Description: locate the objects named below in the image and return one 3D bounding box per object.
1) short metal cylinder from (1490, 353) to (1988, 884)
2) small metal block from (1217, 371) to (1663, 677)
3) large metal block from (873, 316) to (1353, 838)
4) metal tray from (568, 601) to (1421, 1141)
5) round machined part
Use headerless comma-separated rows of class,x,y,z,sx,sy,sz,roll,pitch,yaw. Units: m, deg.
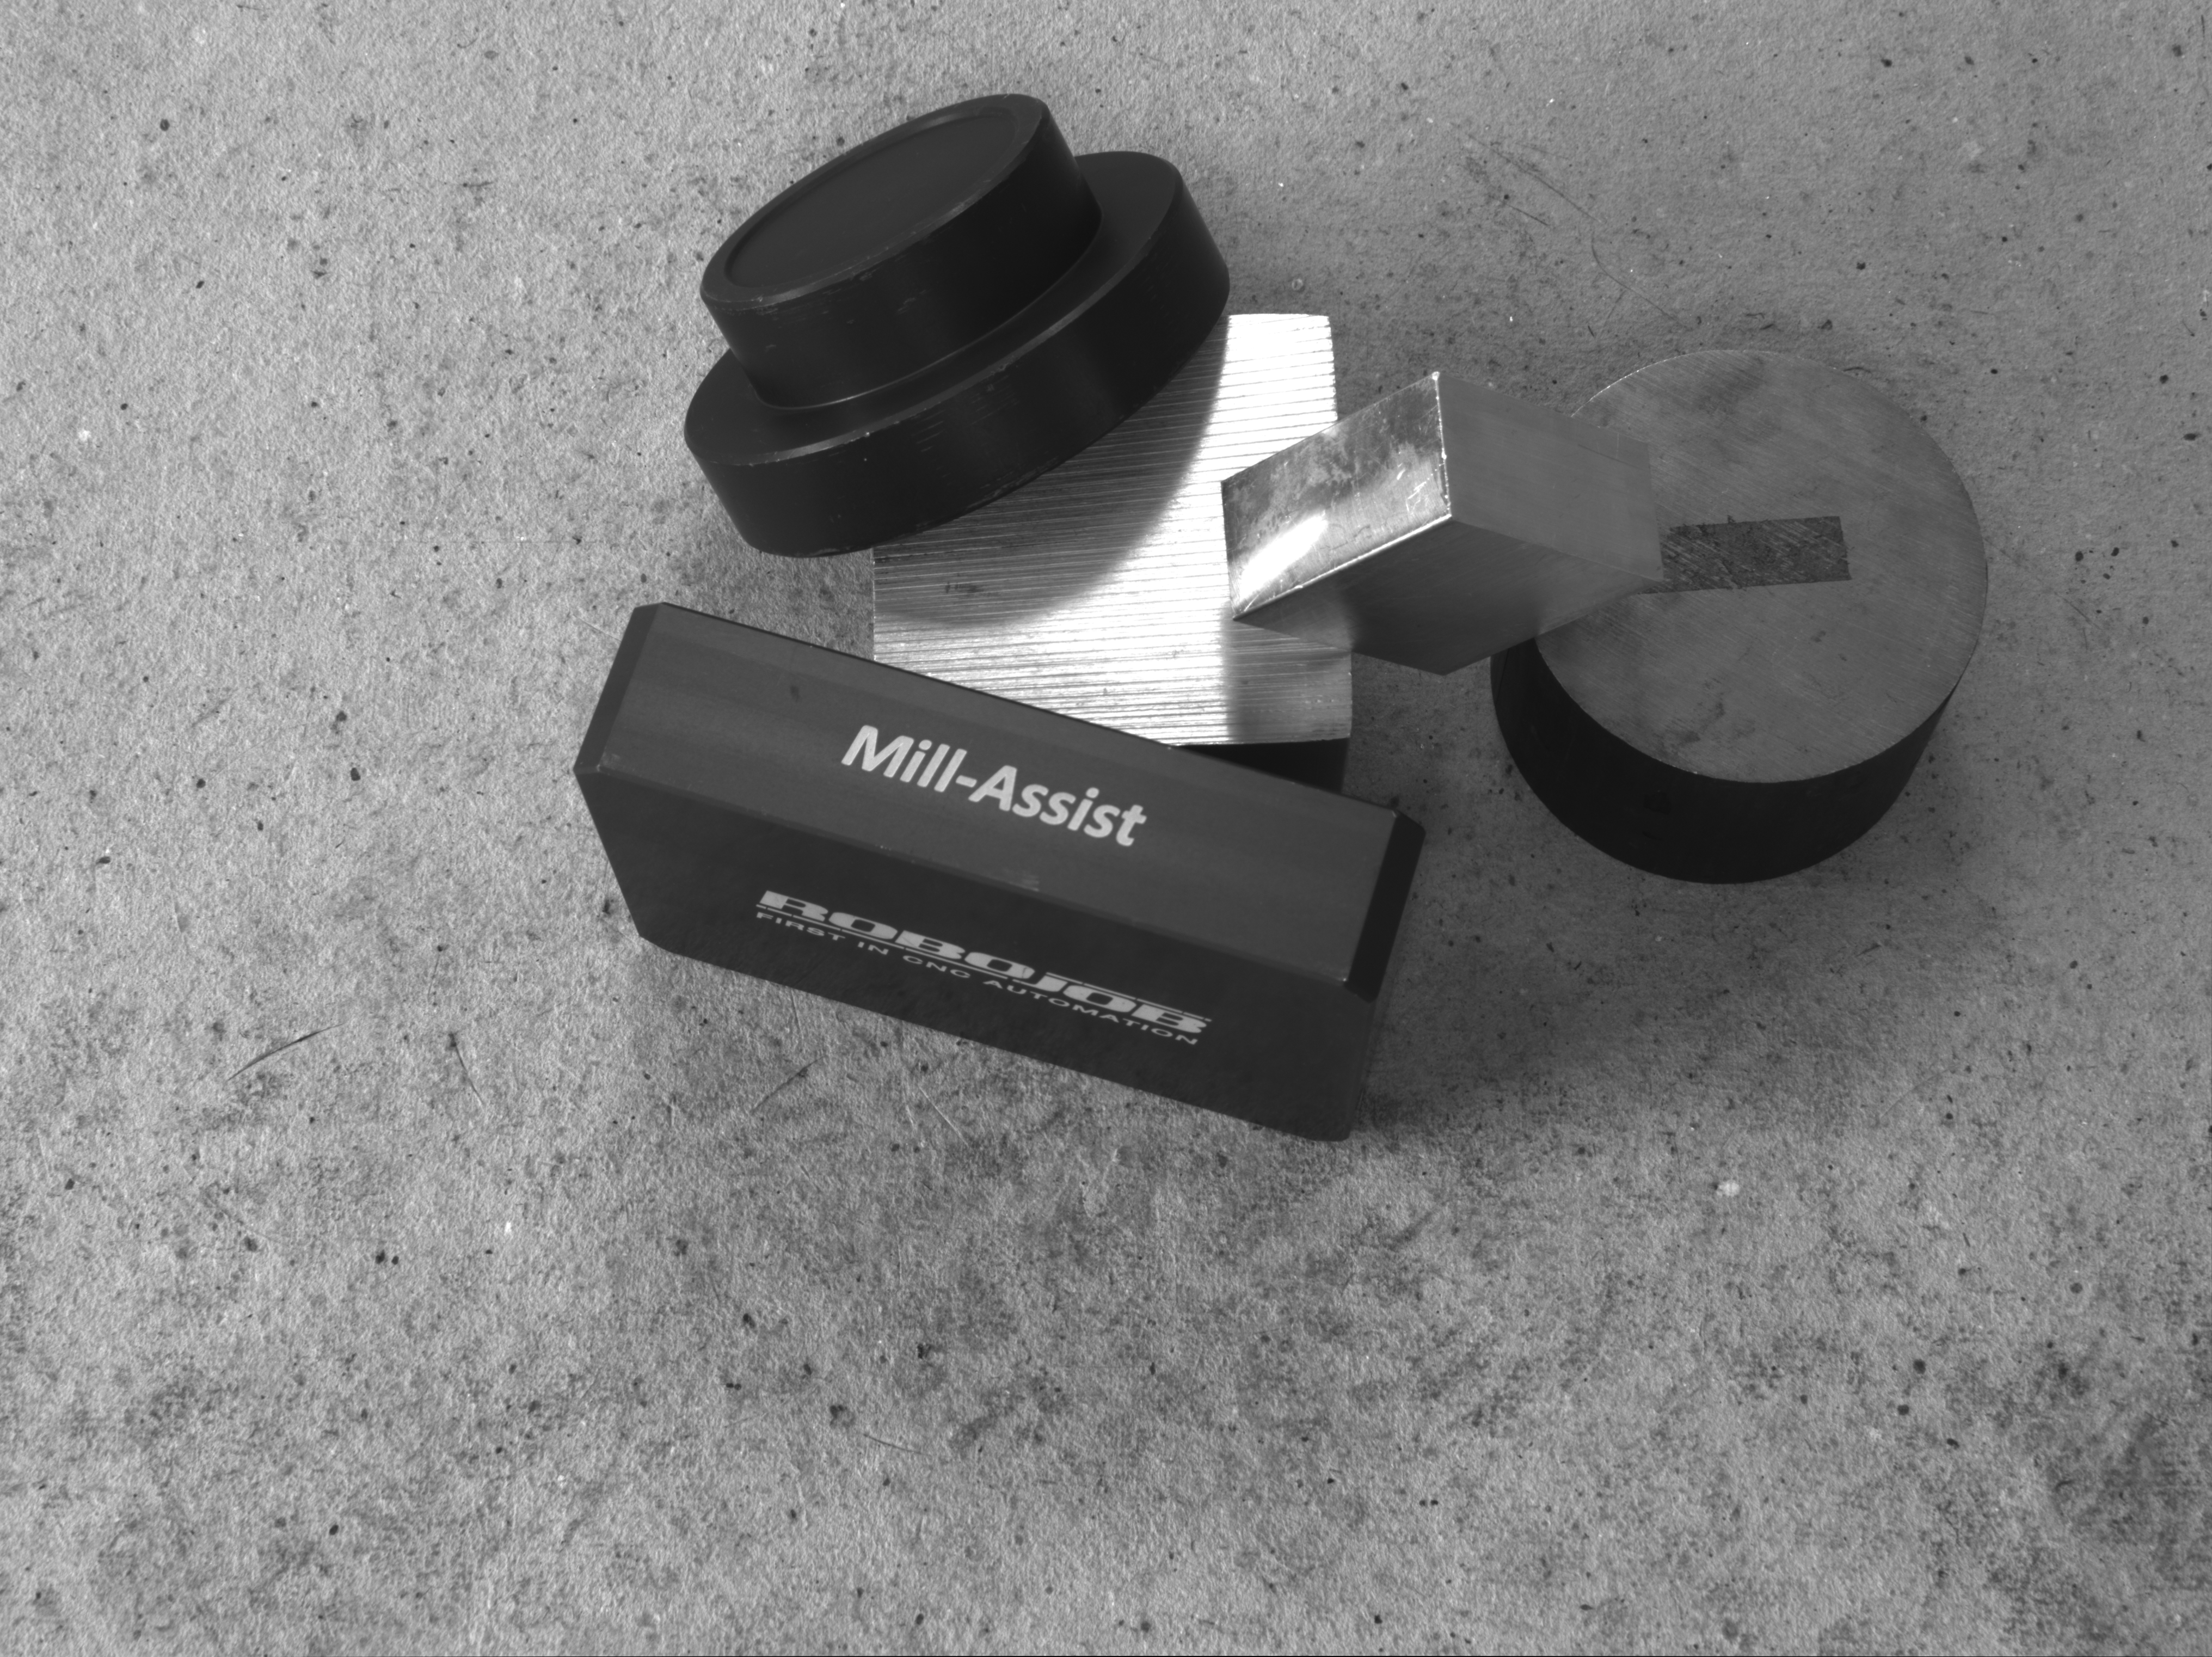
short metal cylinder,0.110,-0.036,0.646,0.080,0.050,0.080,0,70,0
small metal block,0.054,-0.049,0.602,0.050,0.050,0.025,12,66,-40
large metal block,0.000,-0.042,0.649,0.080,0.050,0.080,-1,70,0
metal tray,-0.017,0.009,0.607,0.130,0.090,0.030,16,71,6
round machined part,-0.032,-0.092,0.640,0.098,0.098,0.042,-35,118,-12
